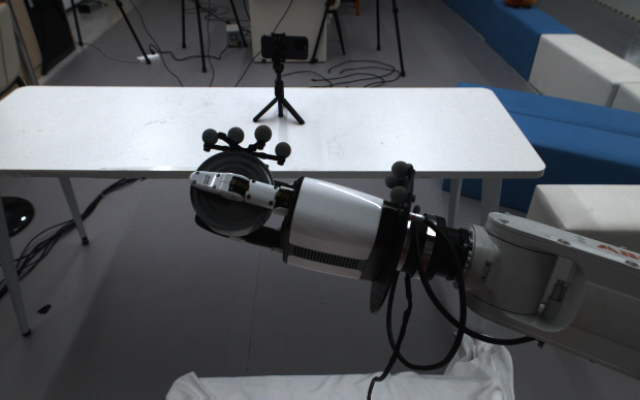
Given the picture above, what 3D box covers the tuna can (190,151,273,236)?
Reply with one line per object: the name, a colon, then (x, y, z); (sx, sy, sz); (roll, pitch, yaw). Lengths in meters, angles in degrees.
tuna can: (-0.088, -0.007, 0.506); (0.085, 0.034, 0.085); (1, 73, -3)
